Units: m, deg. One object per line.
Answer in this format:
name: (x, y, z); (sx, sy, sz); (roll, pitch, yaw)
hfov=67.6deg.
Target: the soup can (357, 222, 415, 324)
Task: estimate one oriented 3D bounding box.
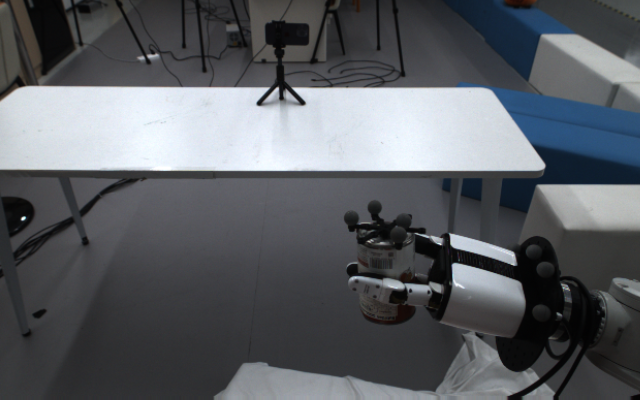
soup can: (0.080, 0.083, 0.566); (0.067, 0.101, 0.067); (-4, 21, 2)
